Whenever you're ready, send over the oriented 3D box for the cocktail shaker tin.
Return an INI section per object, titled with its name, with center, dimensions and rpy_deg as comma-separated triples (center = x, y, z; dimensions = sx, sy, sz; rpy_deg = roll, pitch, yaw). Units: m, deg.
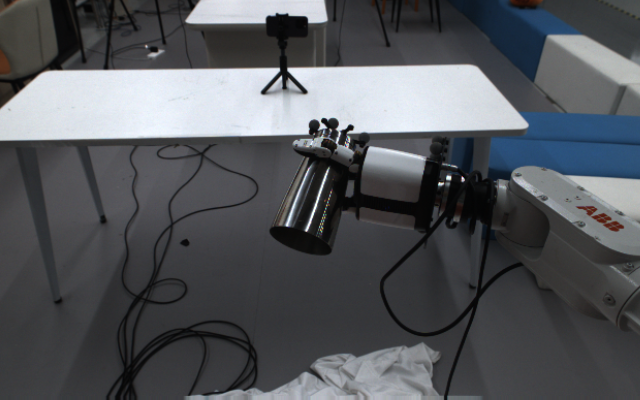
[cocktail shaker tin]
center = 0.000, -0.019, 0.701
dimensions = 0.093, 0.093, 0.170
rpy_deg = 12, 65, 15
